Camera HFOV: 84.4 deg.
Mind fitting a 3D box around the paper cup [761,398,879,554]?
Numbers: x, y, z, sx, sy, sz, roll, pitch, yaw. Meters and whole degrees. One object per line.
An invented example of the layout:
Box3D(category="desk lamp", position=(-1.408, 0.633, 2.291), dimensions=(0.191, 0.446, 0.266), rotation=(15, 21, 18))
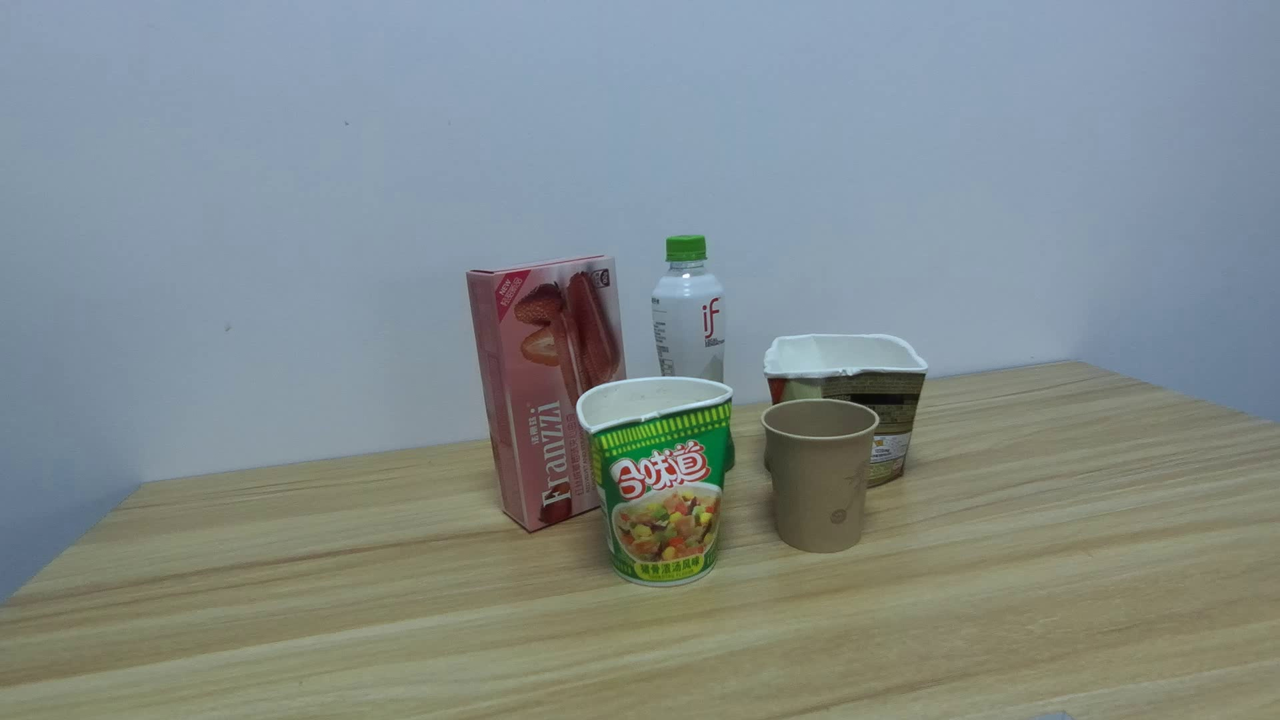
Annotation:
Box3D(category="paper cup", position=(0.115, 0.076, 0.457), dimensions=(0.075, 0.082, 0.075), rotation=(-4, 15, 1))

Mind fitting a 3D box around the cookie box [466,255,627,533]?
Box3D(category="cookie box", position=(-0.061, 0.021, 0.519), dimensions=(0.096, 0.184, 0.048), rotation=(-15, 17, -33))

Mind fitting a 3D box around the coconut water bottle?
Box3D(category="coconut water bottle", position=(0.042, -0.003, 0.567), dimensions=(0.063, 0.188, 0.063), rotation=(-4, 12, 1))

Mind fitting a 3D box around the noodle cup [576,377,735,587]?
Box3D(category="noodle cup", position=(0.014, 0.073, 0.444), dimensions=(0.094, 0.109, 0.087), rotation=(-5, 15, -1))
